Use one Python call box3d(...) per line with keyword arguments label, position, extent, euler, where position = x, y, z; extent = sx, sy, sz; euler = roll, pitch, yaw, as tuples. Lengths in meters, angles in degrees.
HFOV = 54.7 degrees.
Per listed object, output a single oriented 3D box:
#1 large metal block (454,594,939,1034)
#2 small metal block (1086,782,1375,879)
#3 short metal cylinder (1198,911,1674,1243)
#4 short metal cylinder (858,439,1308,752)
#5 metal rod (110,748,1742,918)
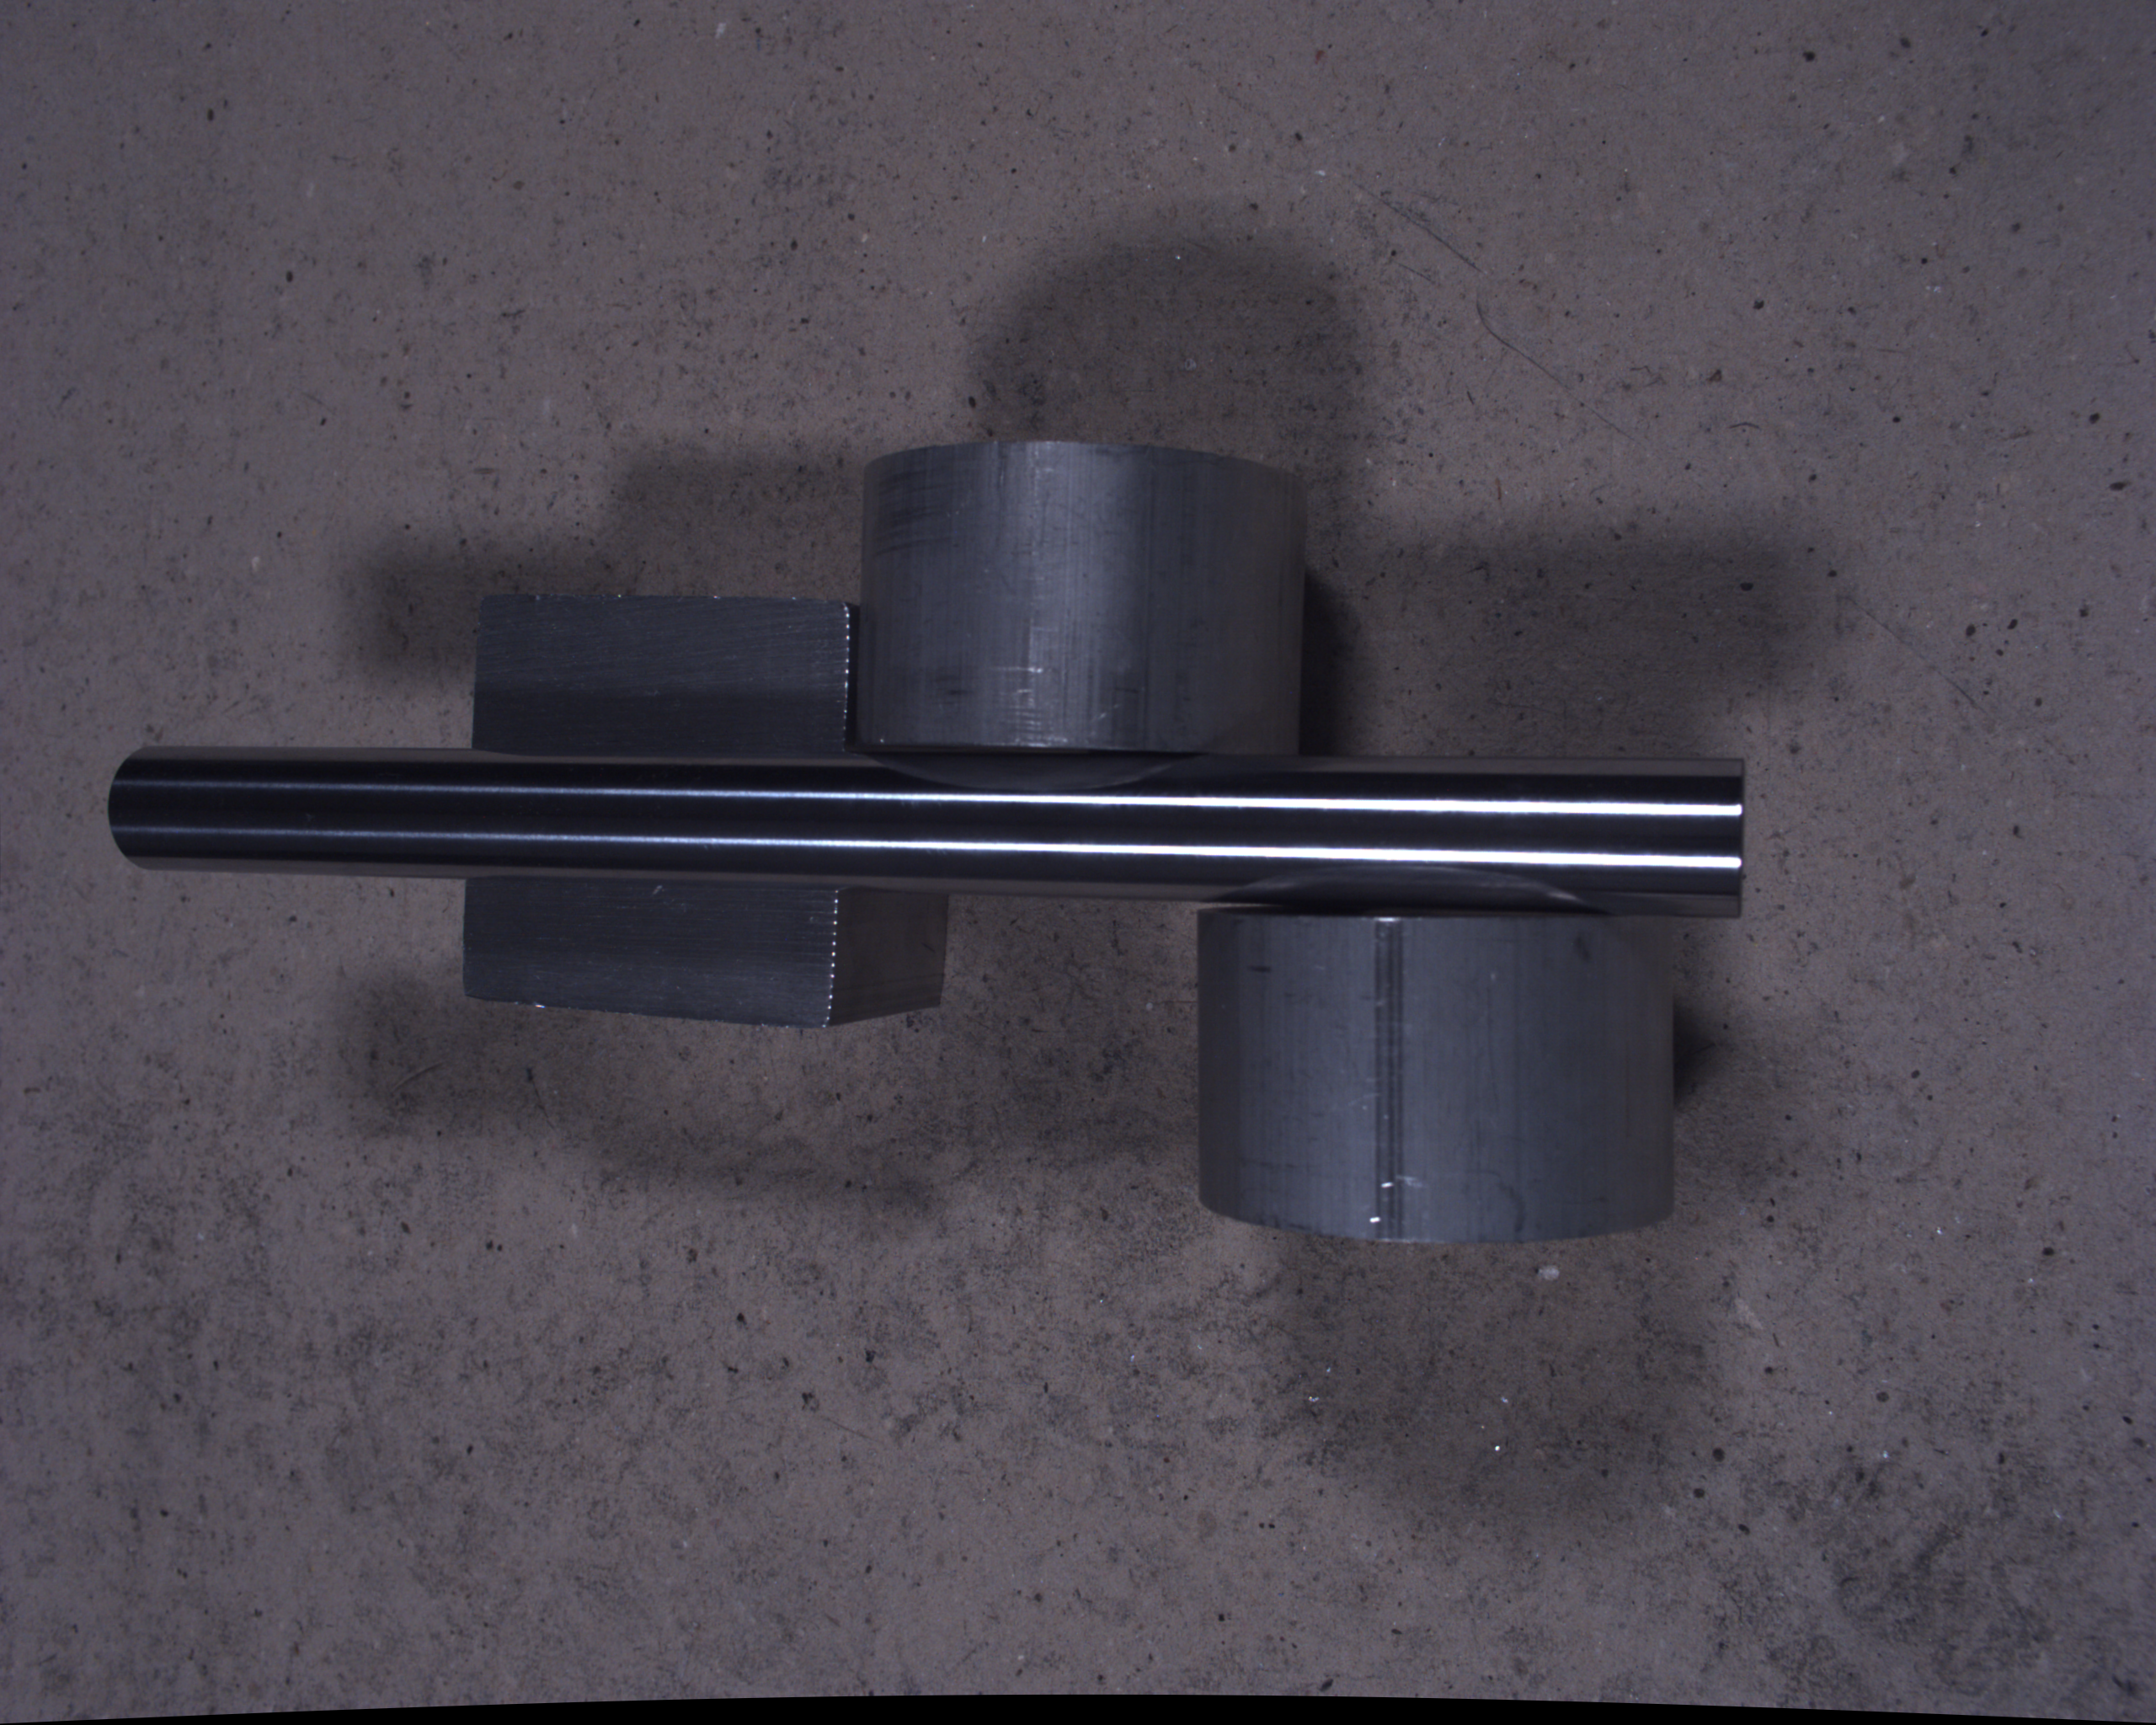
box3d(label="large metal block", position=(-0.074, -0.011, 0.418), extent=(0.080, 0.050, 0.079), euler=(3, 91, 19))
box3d(label="small metal block", position=(0.034, -0.005, 0.383), extent=(0.050, 0.050, 0.025), euler=(1, 91, 19))
box3d(label="short metal cylinder", position=(0.061, 0.033, 0.359), extent=(0.080, 0.080, 0.050), euler=(0, 90, 19))
box3d(label="short metal cylinder", position=(0.001, -0.045, 0.381), extent=(0.080, 0.080, 0.050), euler=(2, 91, 19))
box3d(label="metal rod", position=(-0.041, -0.007, 0.369), extent=(0.301, 0.025, 0.025), euler=(1, 91, 18))
